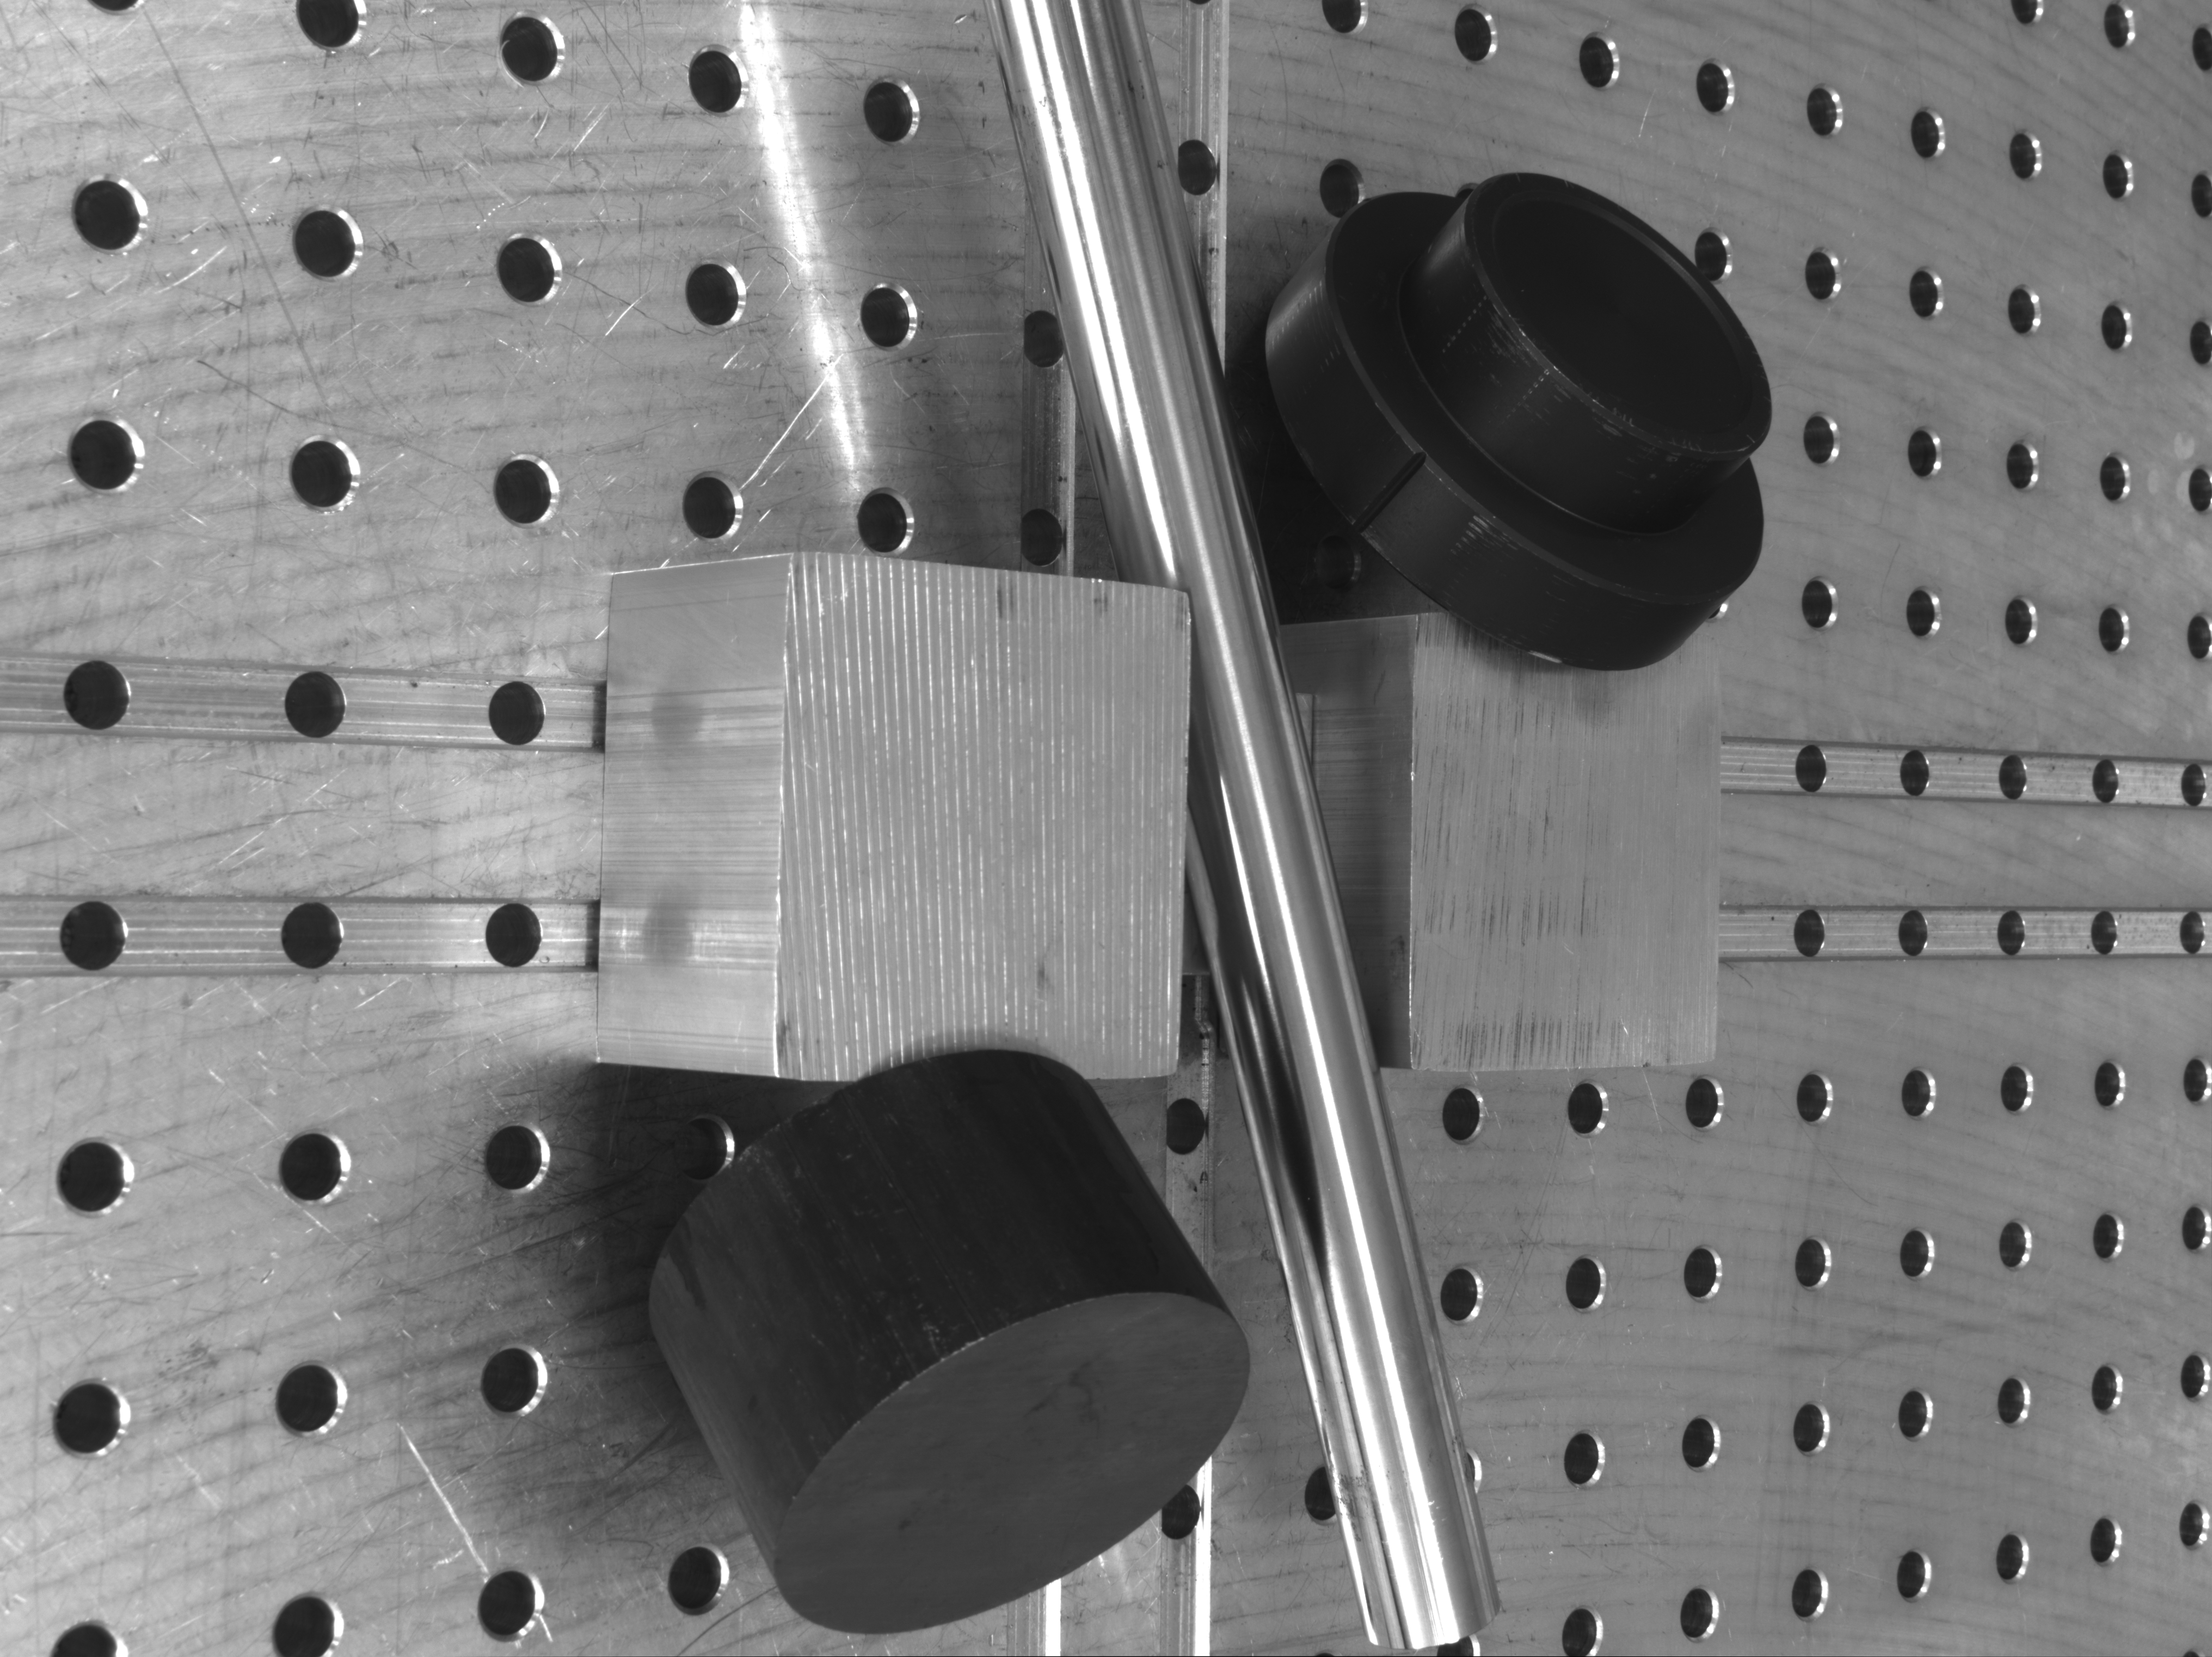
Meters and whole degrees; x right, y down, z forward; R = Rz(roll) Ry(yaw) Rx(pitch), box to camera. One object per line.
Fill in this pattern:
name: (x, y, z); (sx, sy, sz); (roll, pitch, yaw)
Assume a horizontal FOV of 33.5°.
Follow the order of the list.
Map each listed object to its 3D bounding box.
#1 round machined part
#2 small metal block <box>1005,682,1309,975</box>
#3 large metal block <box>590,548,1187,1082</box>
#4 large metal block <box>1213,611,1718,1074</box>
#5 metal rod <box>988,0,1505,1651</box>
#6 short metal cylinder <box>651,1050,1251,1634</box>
round machined part: (0.081, -0.079, 0.664); (0.098, 0.042, 0.098); (23, 43, -23)
small metal block: (0.009, 0.000, 0.647); (0.050, 0.025, 0.050); (1, 89, -40)
large metal block: (-0.035, -0.001, 0.595); (0.080, 0.050, 0.080); (3, 88, -40)
large metal block: (0.067, 0.003, 0.680); (0.080, 0.050, 0.080); (1, 89, -40)
metal rod: (0.025, -0.003, 0.626); (0.025, 0.025, 0.300); (-22, 104, -38)
short metal cylinder: (-0.024, 0.081, 0.575); (0.080, 0.050, 0.080); (-21, 142, -17)
